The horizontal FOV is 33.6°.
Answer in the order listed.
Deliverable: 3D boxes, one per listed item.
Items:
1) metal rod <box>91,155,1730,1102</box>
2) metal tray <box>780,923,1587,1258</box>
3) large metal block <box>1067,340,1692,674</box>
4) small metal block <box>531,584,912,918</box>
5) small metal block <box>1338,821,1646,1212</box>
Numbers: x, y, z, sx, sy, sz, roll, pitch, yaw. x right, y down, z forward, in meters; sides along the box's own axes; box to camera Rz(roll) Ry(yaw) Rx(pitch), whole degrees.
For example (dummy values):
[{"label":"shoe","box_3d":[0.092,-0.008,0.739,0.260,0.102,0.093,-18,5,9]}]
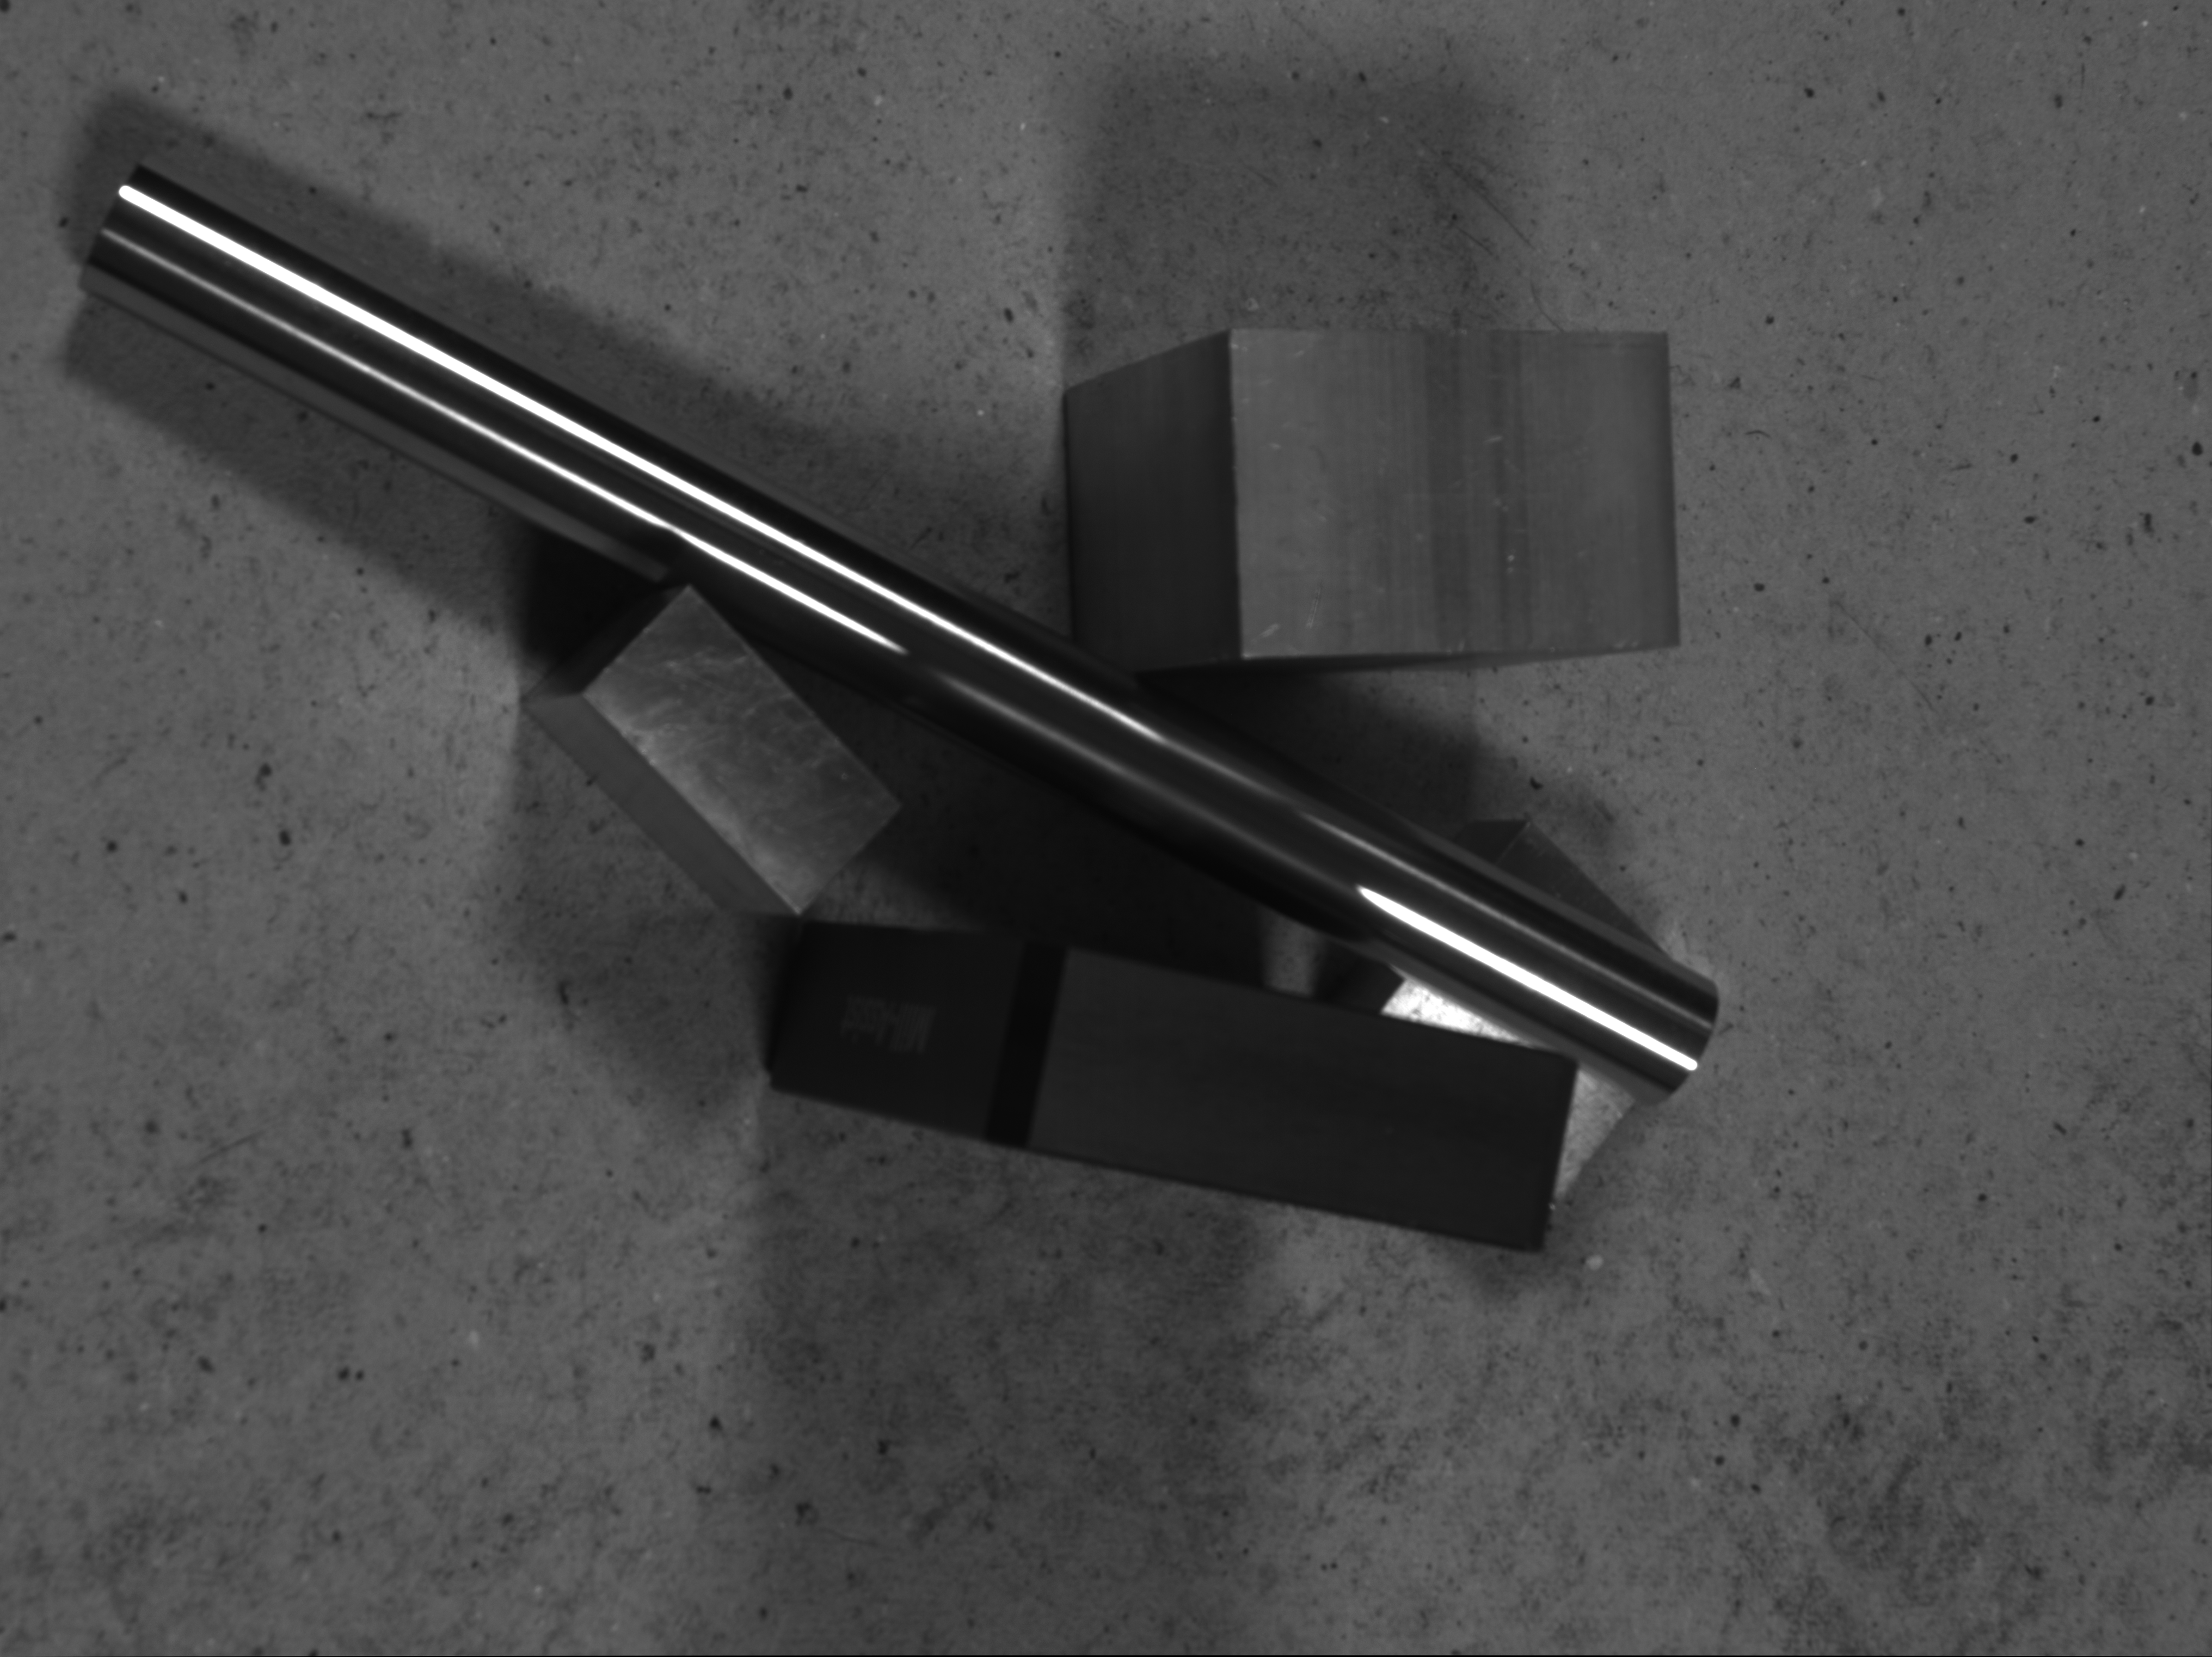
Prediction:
[{"label":"metal rod","box_3d":[-0.027,-0.030,0.619,0.300,0.025,0.025,27,81,-13]},{"label":"metal tray","box_3d":[0.008,0.040,0.591,0.090,0.130,0.030,13,85,-19]},{"label":"large metal block","box_3d":[0.045,-0.053,0.629,0.080,0.080,0.050,-2,91,-20]},{"label":"small metal block","box_3d":[-0.065,-0.012,0.606,0.050,0.050,0.025,47,76,-14]},{"label":"small metal block","box_3d":[0.075,0.034,0.671,0.050,0.025,0.050,43,76,-15]}]
